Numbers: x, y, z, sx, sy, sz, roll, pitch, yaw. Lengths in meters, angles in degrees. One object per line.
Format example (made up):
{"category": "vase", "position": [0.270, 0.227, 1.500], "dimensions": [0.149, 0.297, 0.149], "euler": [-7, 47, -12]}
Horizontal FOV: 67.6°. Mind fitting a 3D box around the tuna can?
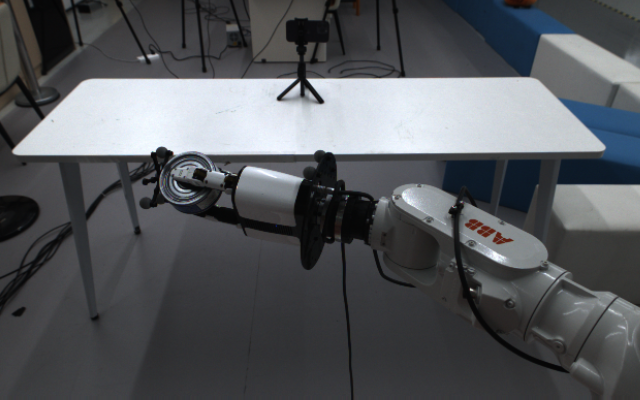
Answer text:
{"category": "tuna can", "position": [-0.181, -0.022, 0.685], "dimensions": [0.085, 0.034, 0.085], "euler": [-2, 70, 6]}
